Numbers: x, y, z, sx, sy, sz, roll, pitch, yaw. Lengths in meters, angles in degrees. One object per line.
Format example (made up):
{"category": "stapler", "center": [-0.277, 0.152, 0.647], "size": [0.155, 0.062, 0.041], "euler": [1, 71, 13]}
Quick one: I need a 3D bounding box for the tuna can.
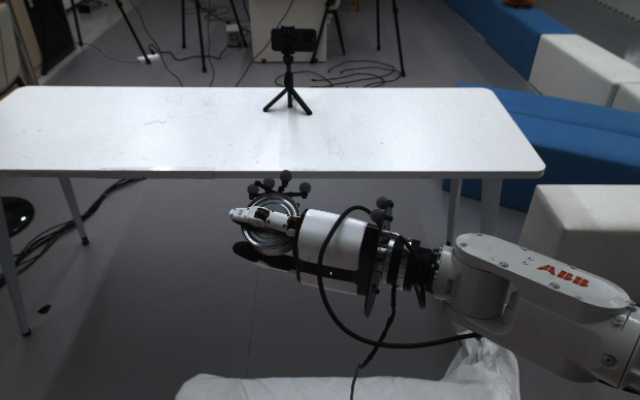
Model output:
{"category": "tuna can", "center": [-0.066, 0.035, 0.682], "size": [0.085, 0.034, 0.085], "euler": [-6, 61, 10]}
